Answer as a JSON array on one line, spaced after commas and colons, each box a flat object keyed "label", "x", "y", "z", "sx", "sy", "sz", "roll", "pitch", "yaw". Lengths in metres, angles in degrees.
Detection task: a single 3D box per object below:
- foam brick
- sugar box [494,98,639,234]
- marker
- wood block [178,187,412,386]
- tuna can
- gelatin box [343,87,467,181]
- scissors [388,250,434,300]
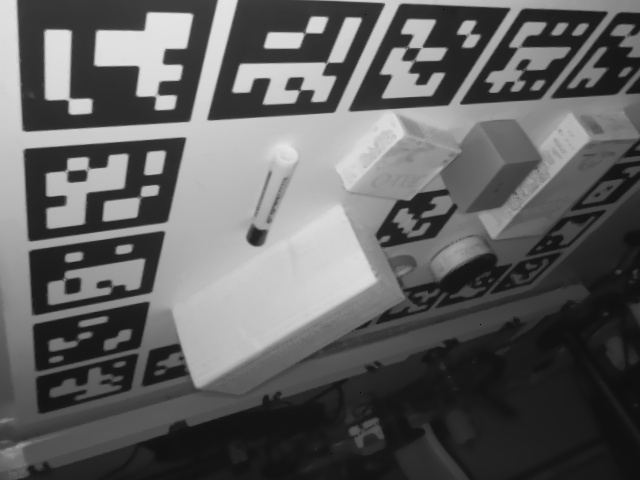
[{"label": "foam brick", "x": 0.171, "y": -0.087, "z": 0.665, "sx": 0.053, "sy": 0.051, "sz": 0.077, "roll": -7, "pitch": 142, "yaw": -29}, {"label": "sugar box", "x": 0.279, "y": -0.079, "z": 0.773, "sx": 0.094, "sy": 0.045, "sz": 0.173, "roll": -4, "pitch": 142, "yaw": -31}, {"label": "marker", "x": -0.033, "y": -0.054, "z": 0.595, "sx": 0.020, "sy": 0.019, "sz": 0.119, "roll": -7, "pitch": 141, "yaw": -29}, {"label": "wood block", "x": -0.026, "y": 0.050, "z": 0.692, "sx": 0.205, "sy": 0.091, "sz": 0.090, "roll": -33, "pitch": 149, "yaw": 11}, {"label": "tuna can", "x": 0.209, "y": 0.030, "z": 0.880, "sx": 0.086, "sy": 0.034, "sz": 0.085, "roll": -20, "pitch": 147, "yaw": -12}, {"label": "gelatin box", "x": 0.076, "y": -0.090, "z": 0.617, "sx": 0.091, "sy": 0.030, "sz": 0.072, "roll": 6, "pitch": 134, "yaw": -42}, {"label": "scissors", "x": 0.048, "y": 0.049, "z": 0.810, "sx": 0.206, "sy": 0.016, "sz": 0.086, "roll": -5, "pitch": 142, "yaw": -35}]
